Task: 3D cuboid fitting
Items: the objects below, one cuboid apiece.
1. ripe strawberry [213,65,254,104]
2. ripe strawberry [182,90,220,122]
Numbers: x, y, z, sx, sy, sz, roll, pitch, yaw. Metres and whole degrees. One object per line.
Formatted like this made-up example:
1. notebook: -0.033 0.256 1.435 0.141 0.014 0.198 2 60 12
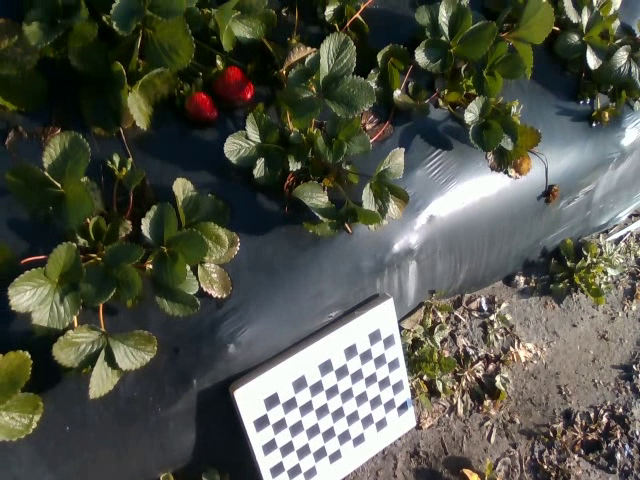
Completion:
1. ripe strawberry: -0.107 -0.197 0.813 0.057 0.052 0.046 37 1 12
2. ripe strawberry: -0.148 -0.165 0.792 0.051 0.043 0.036 31 7 10
